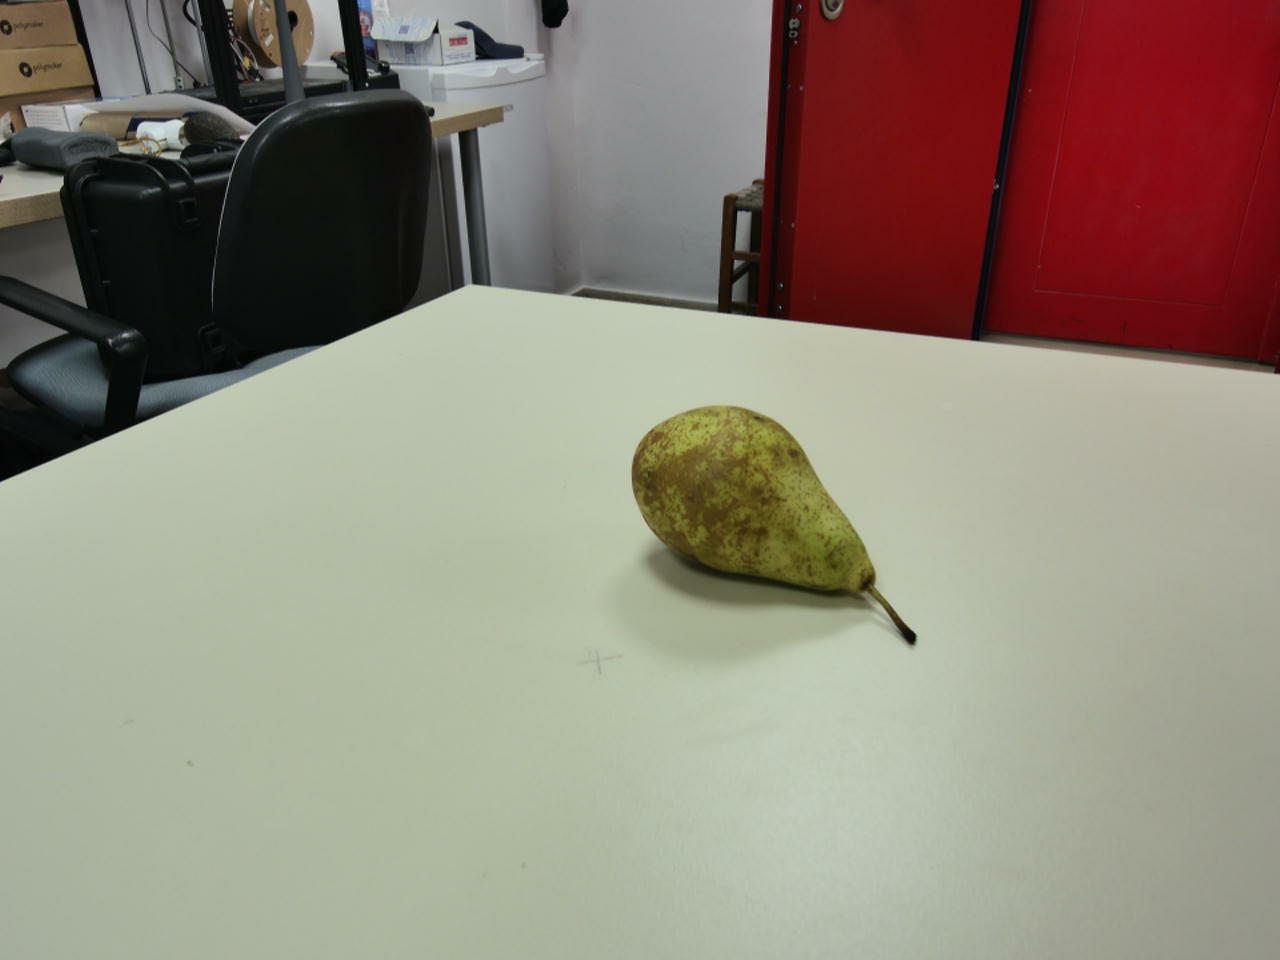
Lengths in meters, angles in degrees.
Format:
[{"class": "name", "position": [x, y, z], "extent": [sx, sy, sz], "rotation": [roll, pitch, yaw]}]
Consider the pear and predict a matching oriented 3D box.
[{"class": "pear", "position": [0.058, 0.009, 0.429], "extent": [0.128, 0.075, 0.071], "rotation": [8, 24, 16]}]
